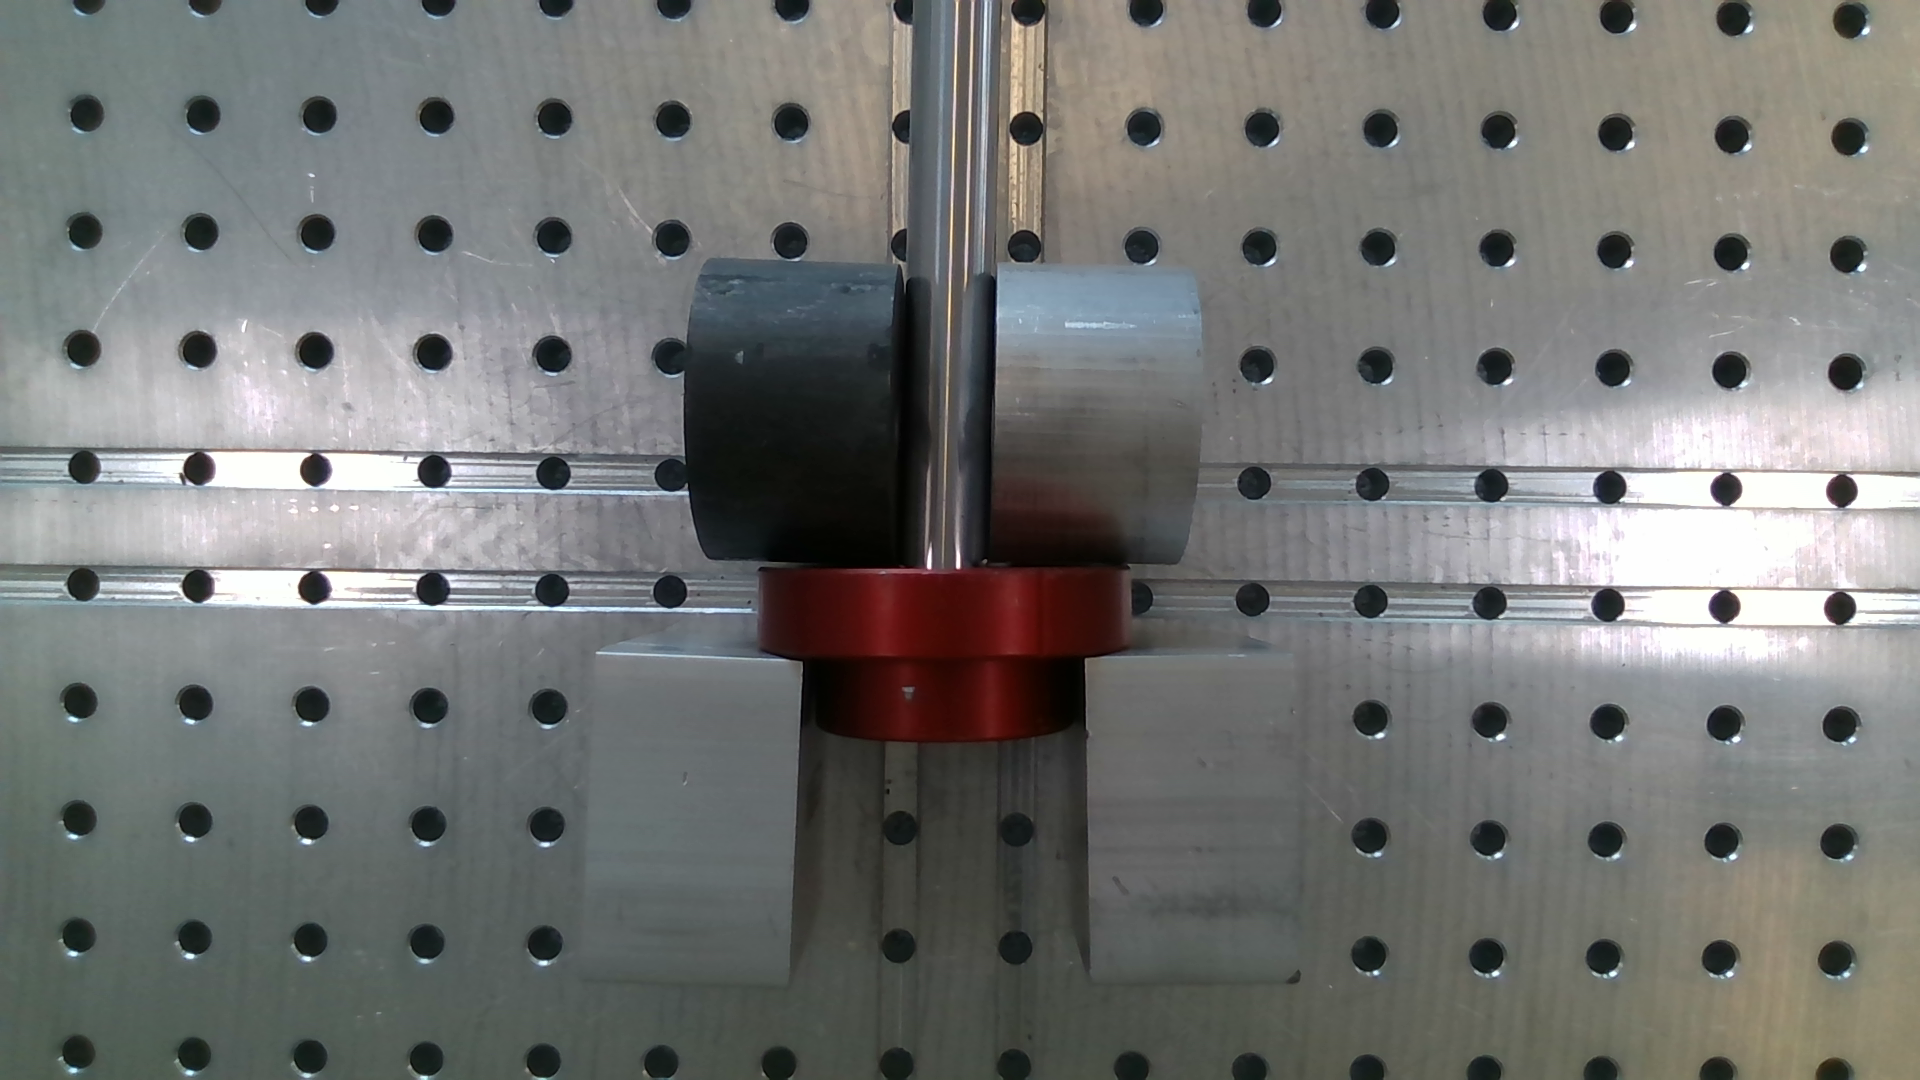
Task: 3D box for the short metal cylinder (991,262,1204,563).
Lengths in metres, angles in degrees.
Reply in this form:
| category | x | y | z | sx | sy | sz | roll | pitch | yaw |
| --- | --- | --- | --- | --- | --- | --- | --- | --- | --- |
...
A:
| category | x | y | z | sx | sy | sz | roll | pitch | yaw |
| --- | --- | --- | --- | --- | --- | --- | --- | --- | --- |
| short metal cylinder | 0.034 | -0.034 | 0.370 | 0.050 | 0.080 | 0.080 | 1 | 90 | 0 |

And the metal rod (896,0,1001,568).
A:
| category | x | y | z | sx | sy | sz | roll | pitch | yaw |
| --- | --- | --- | --- | --- | --- | --- | --- | --- | --- |
| metal rod | -0.002 | -0.116 | 0.386 | 0.025 | 0.025 | 0.300 | 2 | 86 | 0 |

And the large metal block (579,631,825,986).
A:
| category | x | y | z | sx | sy | sz | roll | pitch | yaw |
| --- | --- | --- | --- | --- | --- | --- | --- | --- | --- |
| large metal block | -0.065 | 0.066 | 0.371 | 0.050 | 0.080 | 0.080 | 3 | 90 | 0 |

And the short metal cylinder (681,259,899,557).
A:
| category | x | y | z | sx | sy | sz | roll | pitch | yaw |
| --- | --- | --- | --- | --- | --- | --- | --- | --- | --- |
| short metal cylinder | -0.041 | -0.035 | 0.369 | 0.050 | 0.080 | 0.080 | 1 | 90 | 0 |

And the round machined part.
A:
| category | x | y | z | sx | sy | sz | roll | pitch | yaw |
| --- | --- | --- | --- | --- | --- | --- | --- | --- | --- |
| round machined part | -0.004 | 0.028 | 0.361 | 0.098 | 0.098 | 0.042 | 1 | 90 | 0 |

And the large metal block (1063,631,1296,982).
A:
| category | x | y | z | sx | sy | sz | roll | pitch | yaw |
| --- | --- | --- | --- | --- | --- | --- | --- | --- | --- |
| large metal block | 0.056 | 0.067 | 0.371 | 0.050 | 0.080 | 0.080 | 0 | 90 | 0 |
